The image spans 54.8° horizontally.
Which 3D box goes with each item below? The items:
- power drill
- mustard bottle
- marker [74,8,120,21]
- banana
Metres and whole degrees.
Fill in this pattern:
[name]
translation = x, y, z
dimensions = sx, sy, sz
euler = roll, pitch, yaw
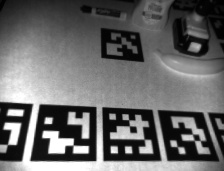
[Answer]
[power drill]
translation = 0.208, -0.169, 0.506
dimensions = 0.057, 0.187, 0.184
euler = 16, 54, -3
[mustard bottle]
translation = 0.099, -0.222, 0.534
dimensions = 0.096, 0.191, 0.058
euler = 13, 56, -5
[marker]
translation = -0.040, -0.193, 0.586
dimensions = 0.121, 0.019, 0.019
euler = 6, 58, -10
[banana]
translation = 0.184, -0.045, 0.538
dimensions = 0.198, 0.039, 0.074
euler = 10, 58, -5
